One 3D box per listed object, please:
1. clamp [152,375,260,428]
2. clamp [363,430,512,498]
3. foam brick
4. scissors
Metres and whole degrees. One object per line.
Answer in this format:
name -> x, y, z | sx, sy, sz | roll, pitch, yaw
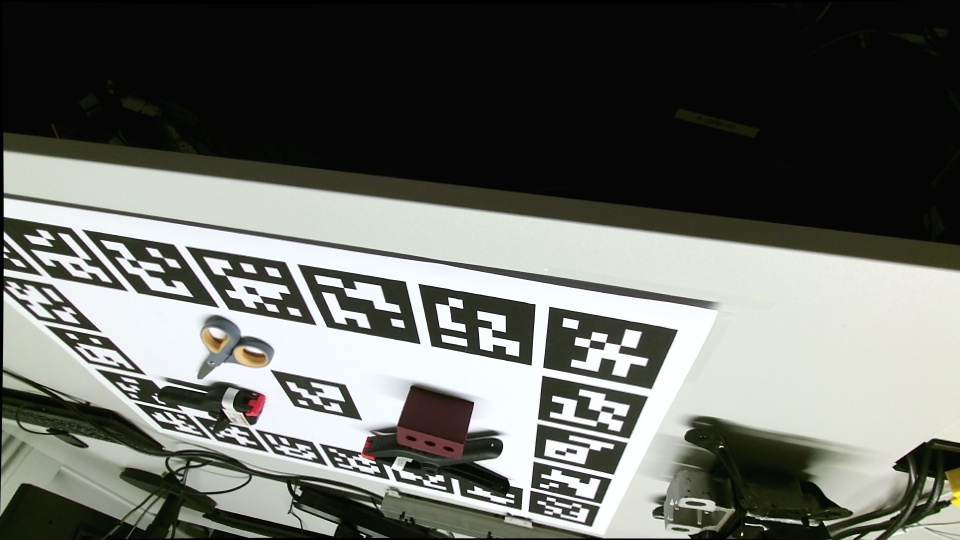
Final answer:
clamp -> -0.379, 0.189, 0.765 | 0.165, 0.036, 0.122 | -12, 124, 29
clamp -> -0.061, 0.250, 0.716 | 0.203, 0.036, 0.165 | 7, 141, 13
foam brick -> -0.046, 0.164, 0.610 | 0.078, 0.051, 0.053 | 11, 137, 0
scissors -> -0.318, 0.099, 0.649 | 0.088, 0.016, 0.203 | 42, 135, -15
